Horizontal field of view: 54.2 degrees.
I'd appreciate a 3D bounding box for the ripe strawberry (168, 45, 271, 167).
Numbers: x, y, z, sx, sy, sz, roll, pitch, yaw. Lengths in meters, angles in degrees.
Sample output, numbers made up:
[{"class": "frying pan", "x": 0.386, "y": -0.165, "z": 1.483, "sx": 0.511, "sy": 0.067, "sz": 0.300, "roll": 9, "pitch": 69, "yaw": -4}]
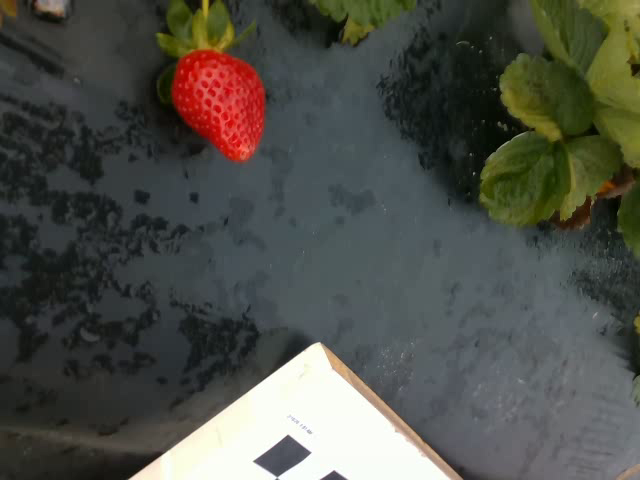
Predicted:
[{"class": "ripe strawberry", "x": -0.040, "y": -0.056, "z": 0.260, "sx": 0.045, "sy": 0.054, "sz": 0.048, "roll": -5, "pitch": -14, "yaw": -15}]
